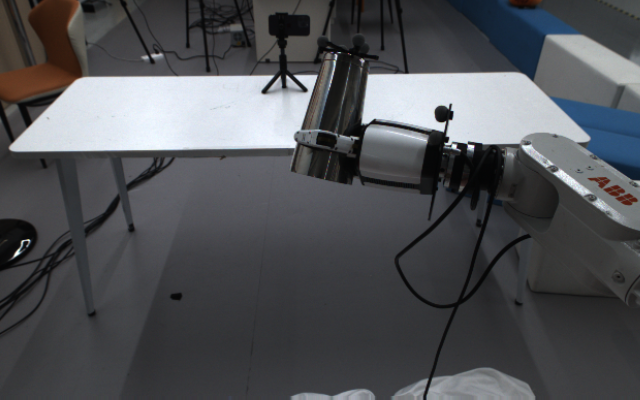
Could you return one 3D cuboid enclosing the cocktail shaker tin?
[{"bbox_3d":[0.019,-0.115,0.683,0.093,0.170,0.093,13,4,-1],"label":"cocktail shaker tin"}]
